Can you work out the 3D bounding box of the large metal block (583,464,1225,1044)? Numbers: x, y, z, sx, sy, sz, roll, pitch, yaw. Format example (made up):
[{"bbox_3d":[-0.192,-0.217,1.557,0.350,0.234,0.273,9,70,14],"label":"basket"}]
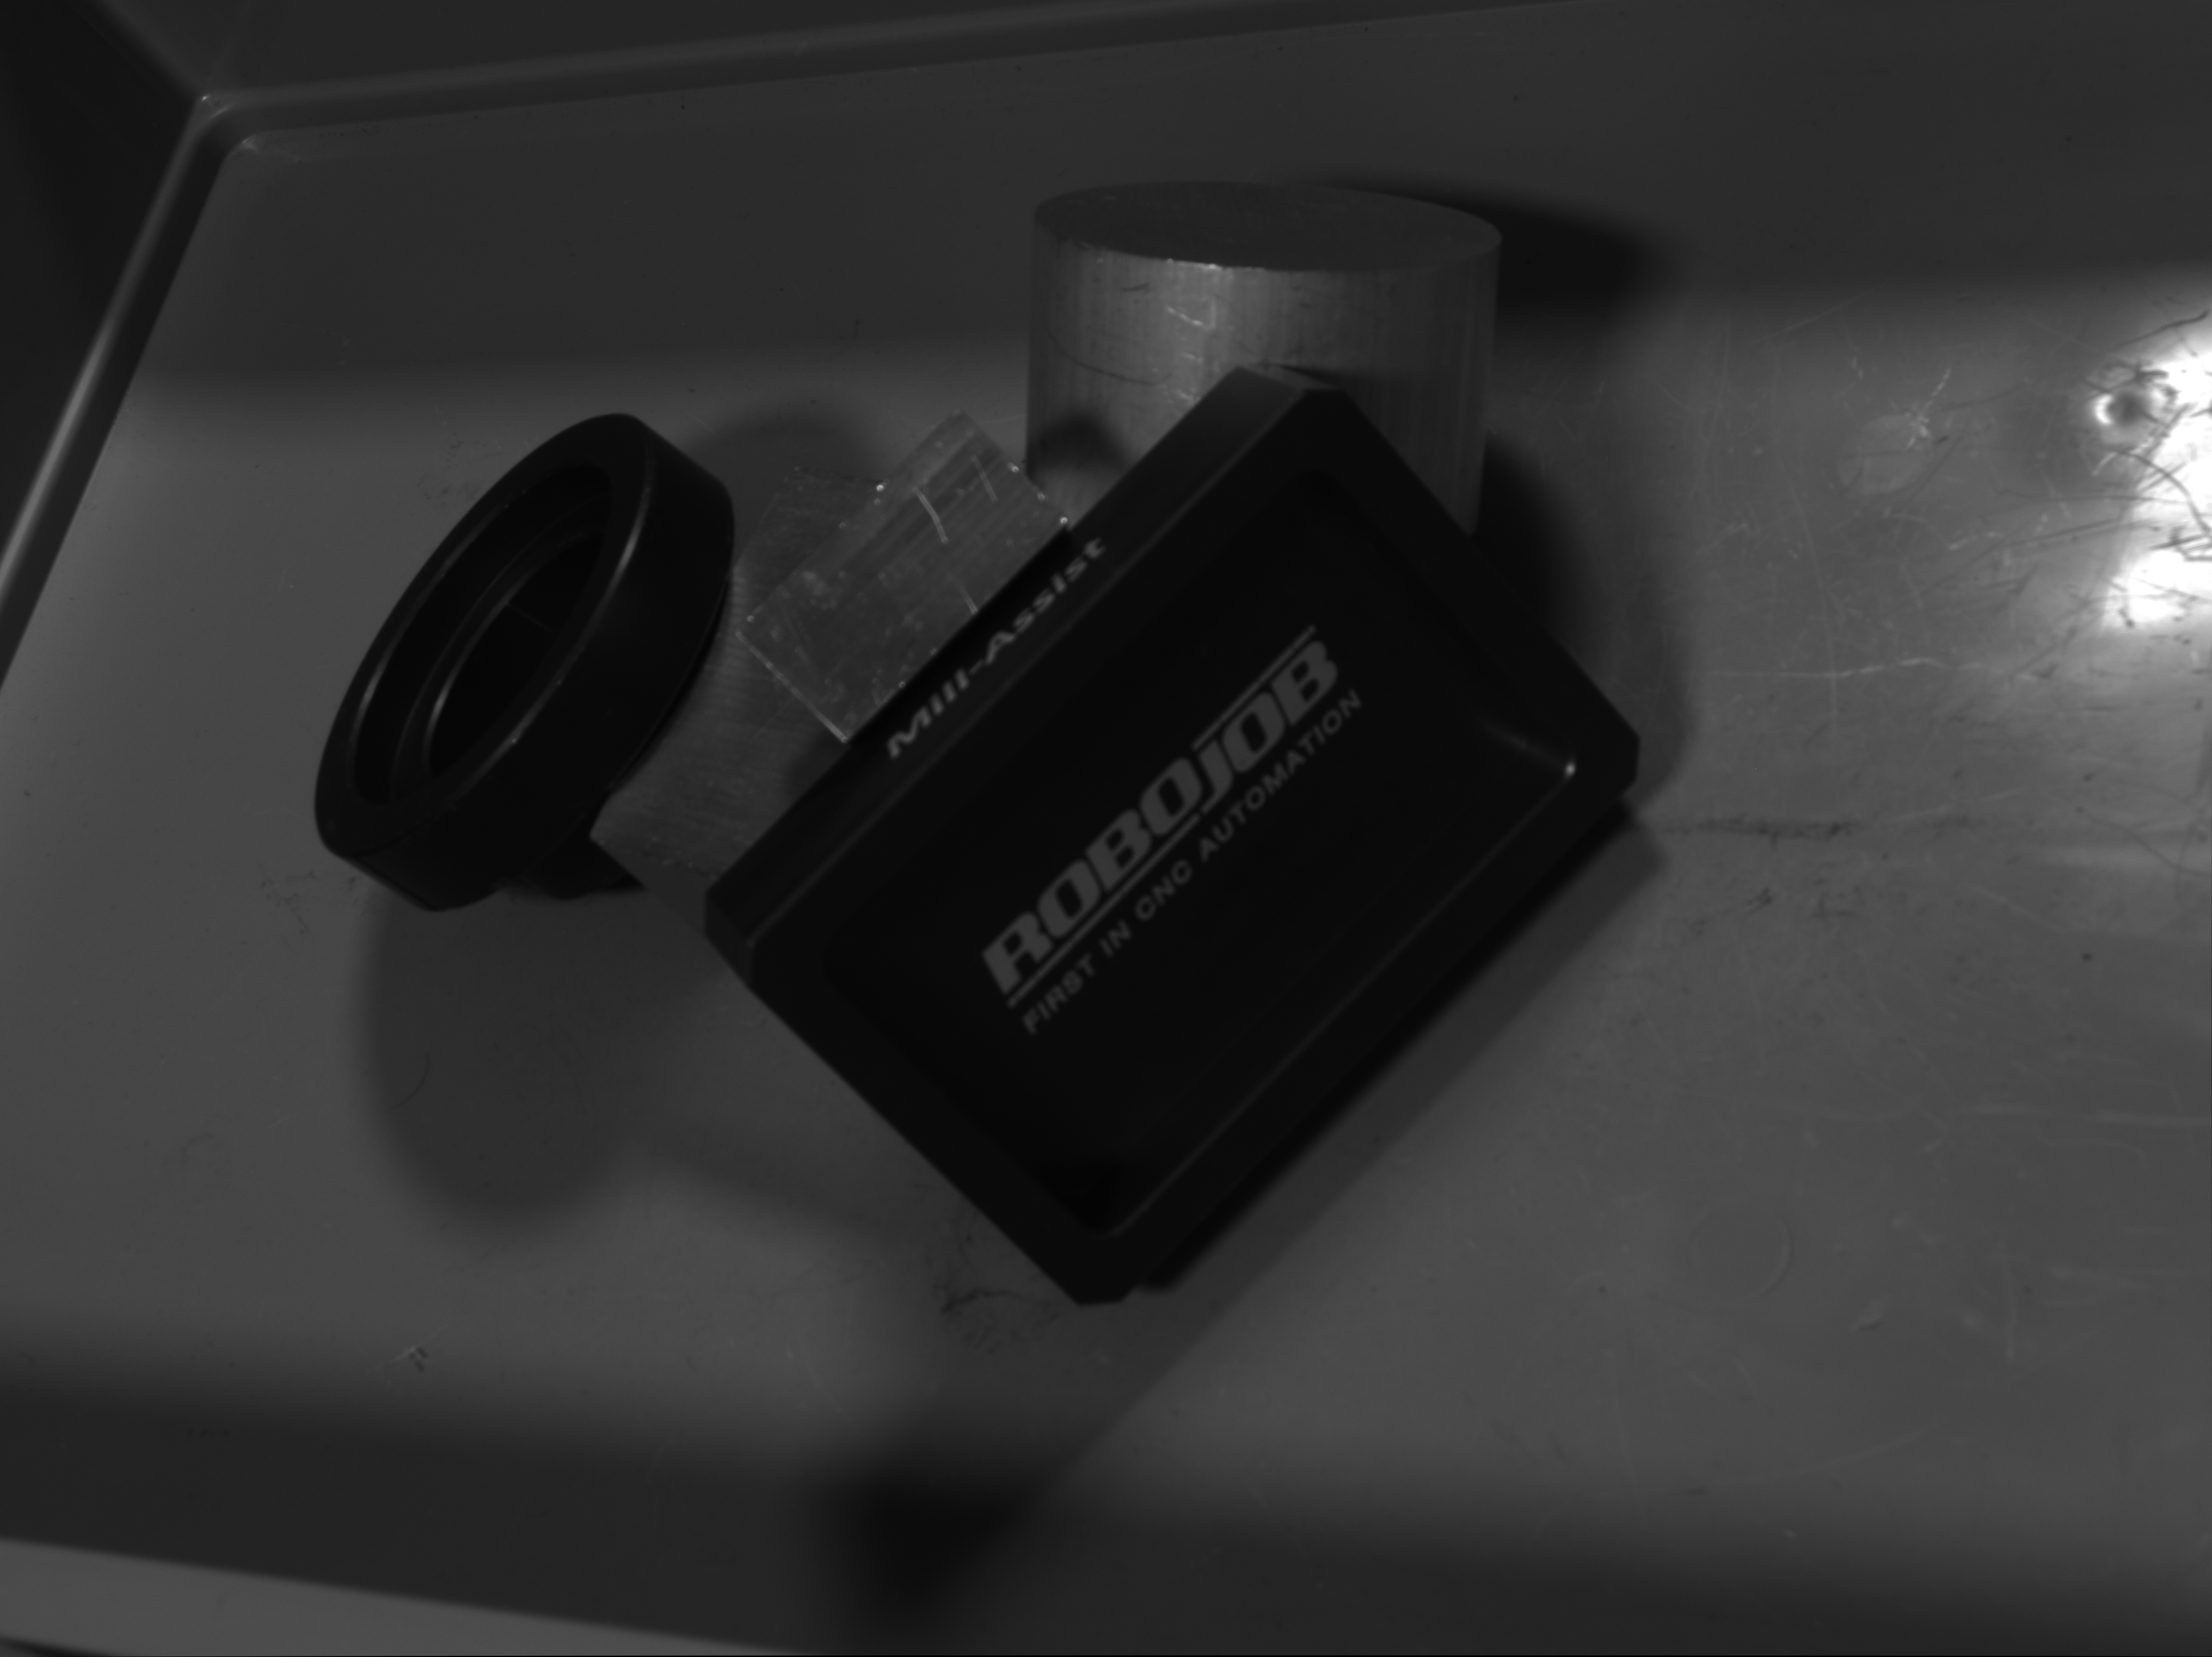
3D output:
[{"bbox_3d":[-0.032,-0.011,0.651,0.080,0.050,0.080,16,70,34],"label":"large metal block"}]

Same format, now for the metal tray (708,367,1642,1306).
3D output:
[{"bbox_3d":[0.012,0.001,0.592,0.130,0.090,0.030,-45,23,-4],"label":"metal tray"}]

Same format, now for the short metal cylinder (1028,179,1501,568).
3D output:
[{"bbox_3d":[0.027,-0.080,0.634,0.080,0.080,0.050,17,115,35],"label":"short metal cylinder"}]

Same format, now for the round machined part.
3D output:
[{"bbox_3d":[-0.101,-0.026,0.687,0.098,0.042,0.098,-36,34,29],"label":"round machined part"}]

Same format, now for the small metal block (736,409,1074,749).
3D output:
[{"bbox_3d":[-0.032,-0.039,0.601,0.050,0.050,0.025,-45,89,-2],"label":"small metal block"}]
